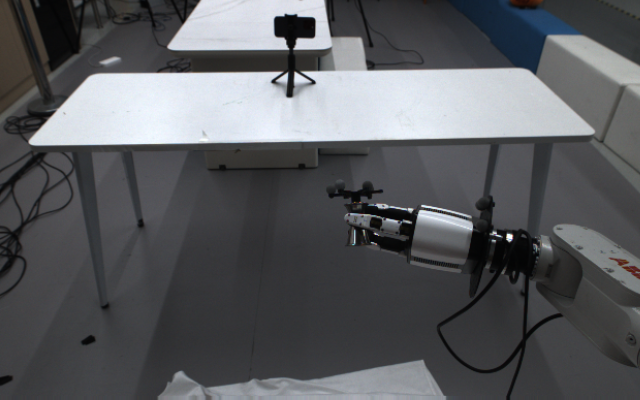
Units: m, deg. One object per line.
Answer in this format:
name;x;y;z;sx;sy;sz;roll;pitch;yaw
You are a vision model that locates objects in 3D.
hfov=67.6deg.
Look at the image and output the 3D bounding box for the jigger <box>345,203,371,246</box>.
jigger;0.059;0.038;0.778;0.043;0.071;0.043;-2;-7;0
